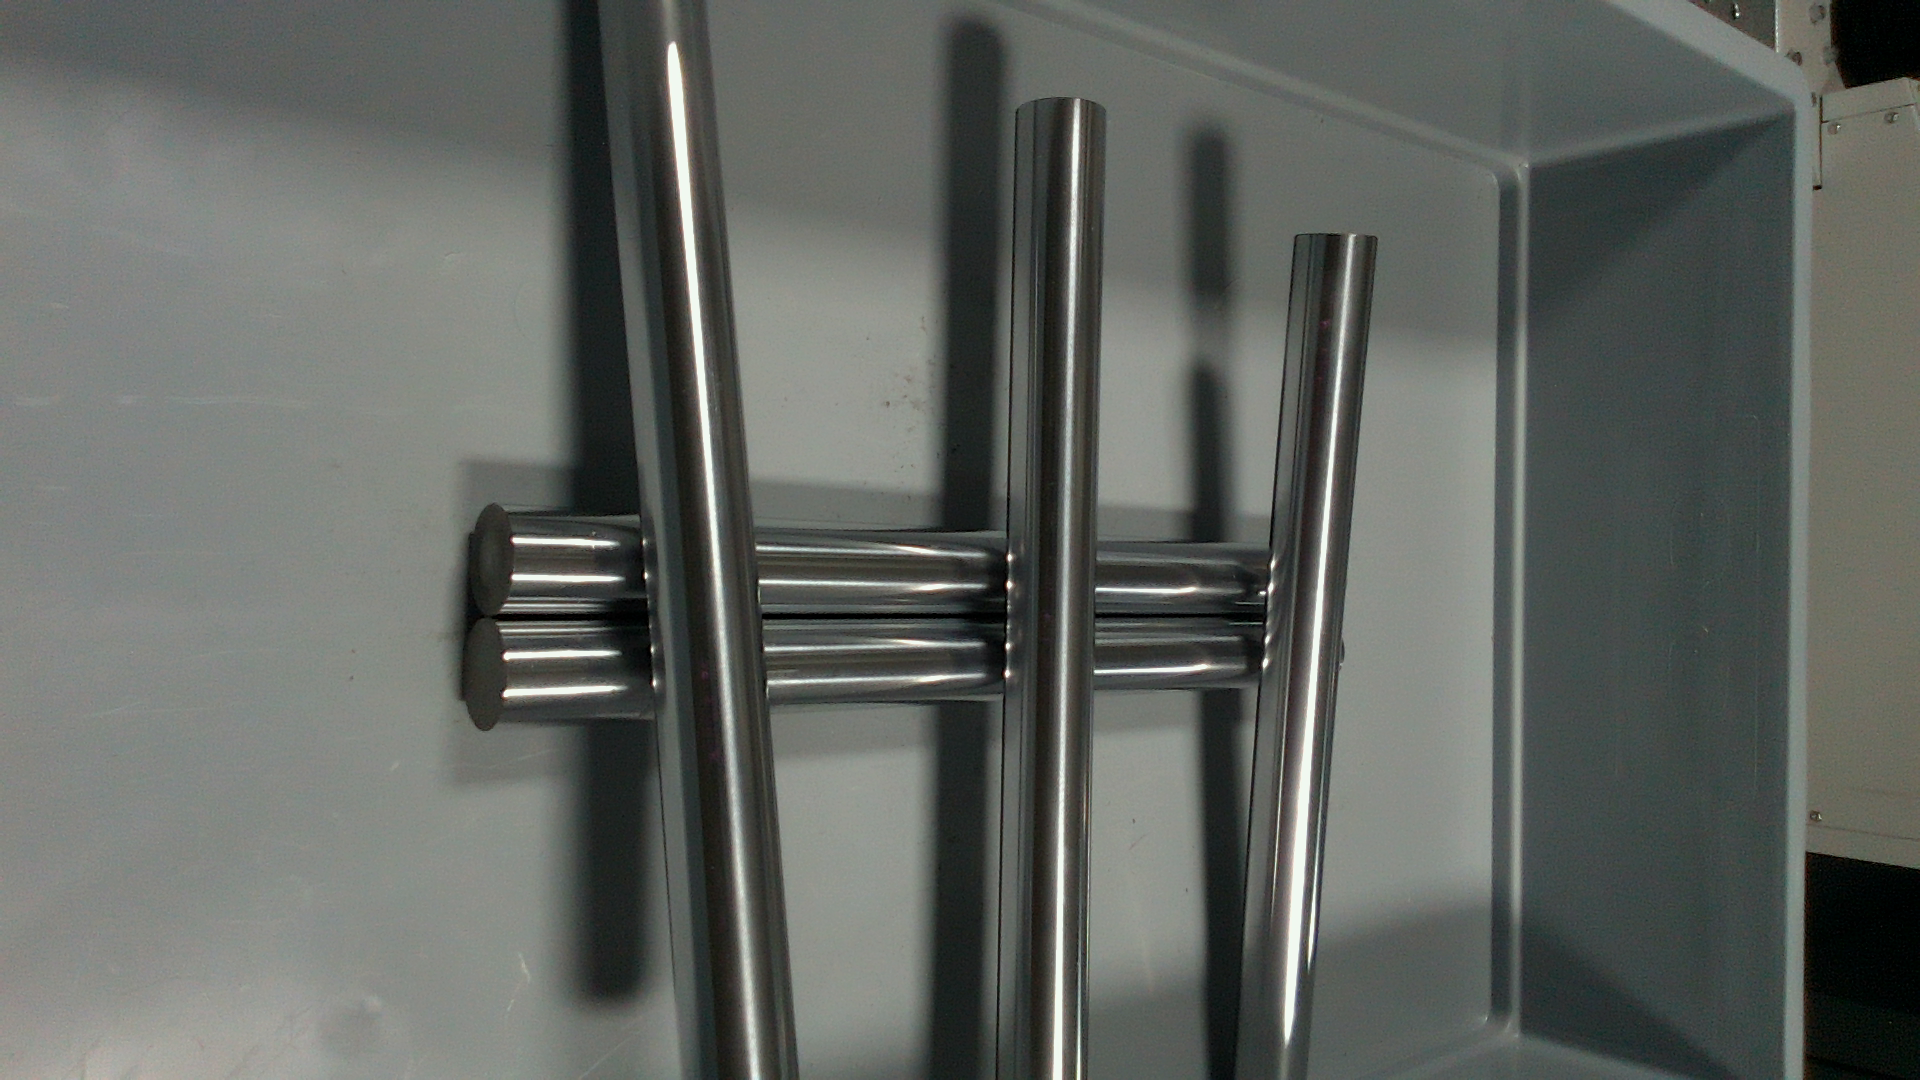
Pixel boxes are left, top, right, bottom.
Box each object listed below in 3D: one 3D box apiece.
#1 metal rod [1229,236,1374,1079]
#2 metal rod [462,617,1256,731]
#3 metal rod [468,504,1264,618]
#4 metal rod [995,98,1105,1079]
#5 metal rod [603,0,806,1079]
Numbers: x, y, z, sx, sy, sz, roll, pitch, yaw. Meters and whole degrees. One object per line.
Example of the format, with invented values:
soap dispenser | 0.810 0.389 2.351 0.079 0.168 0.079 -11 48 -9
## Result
metal rod | 0.110 0.055 0.450 0.025 0.025 0.300 -5 102 -40
metal rod | 0.011 0.034 0.397 0.301 0.025 0.025 2 88 -40
metal rod | 0.012 0.009 0.398 0.301 0.025 0.025 2 88 -40
metal rod | 0.024 0.033 0.376 0.025 0.025 0.300 2 89 -40
metal rod | -0.059 -0.011 0.308 0.025 0.025 0.300 -1 83 -40
